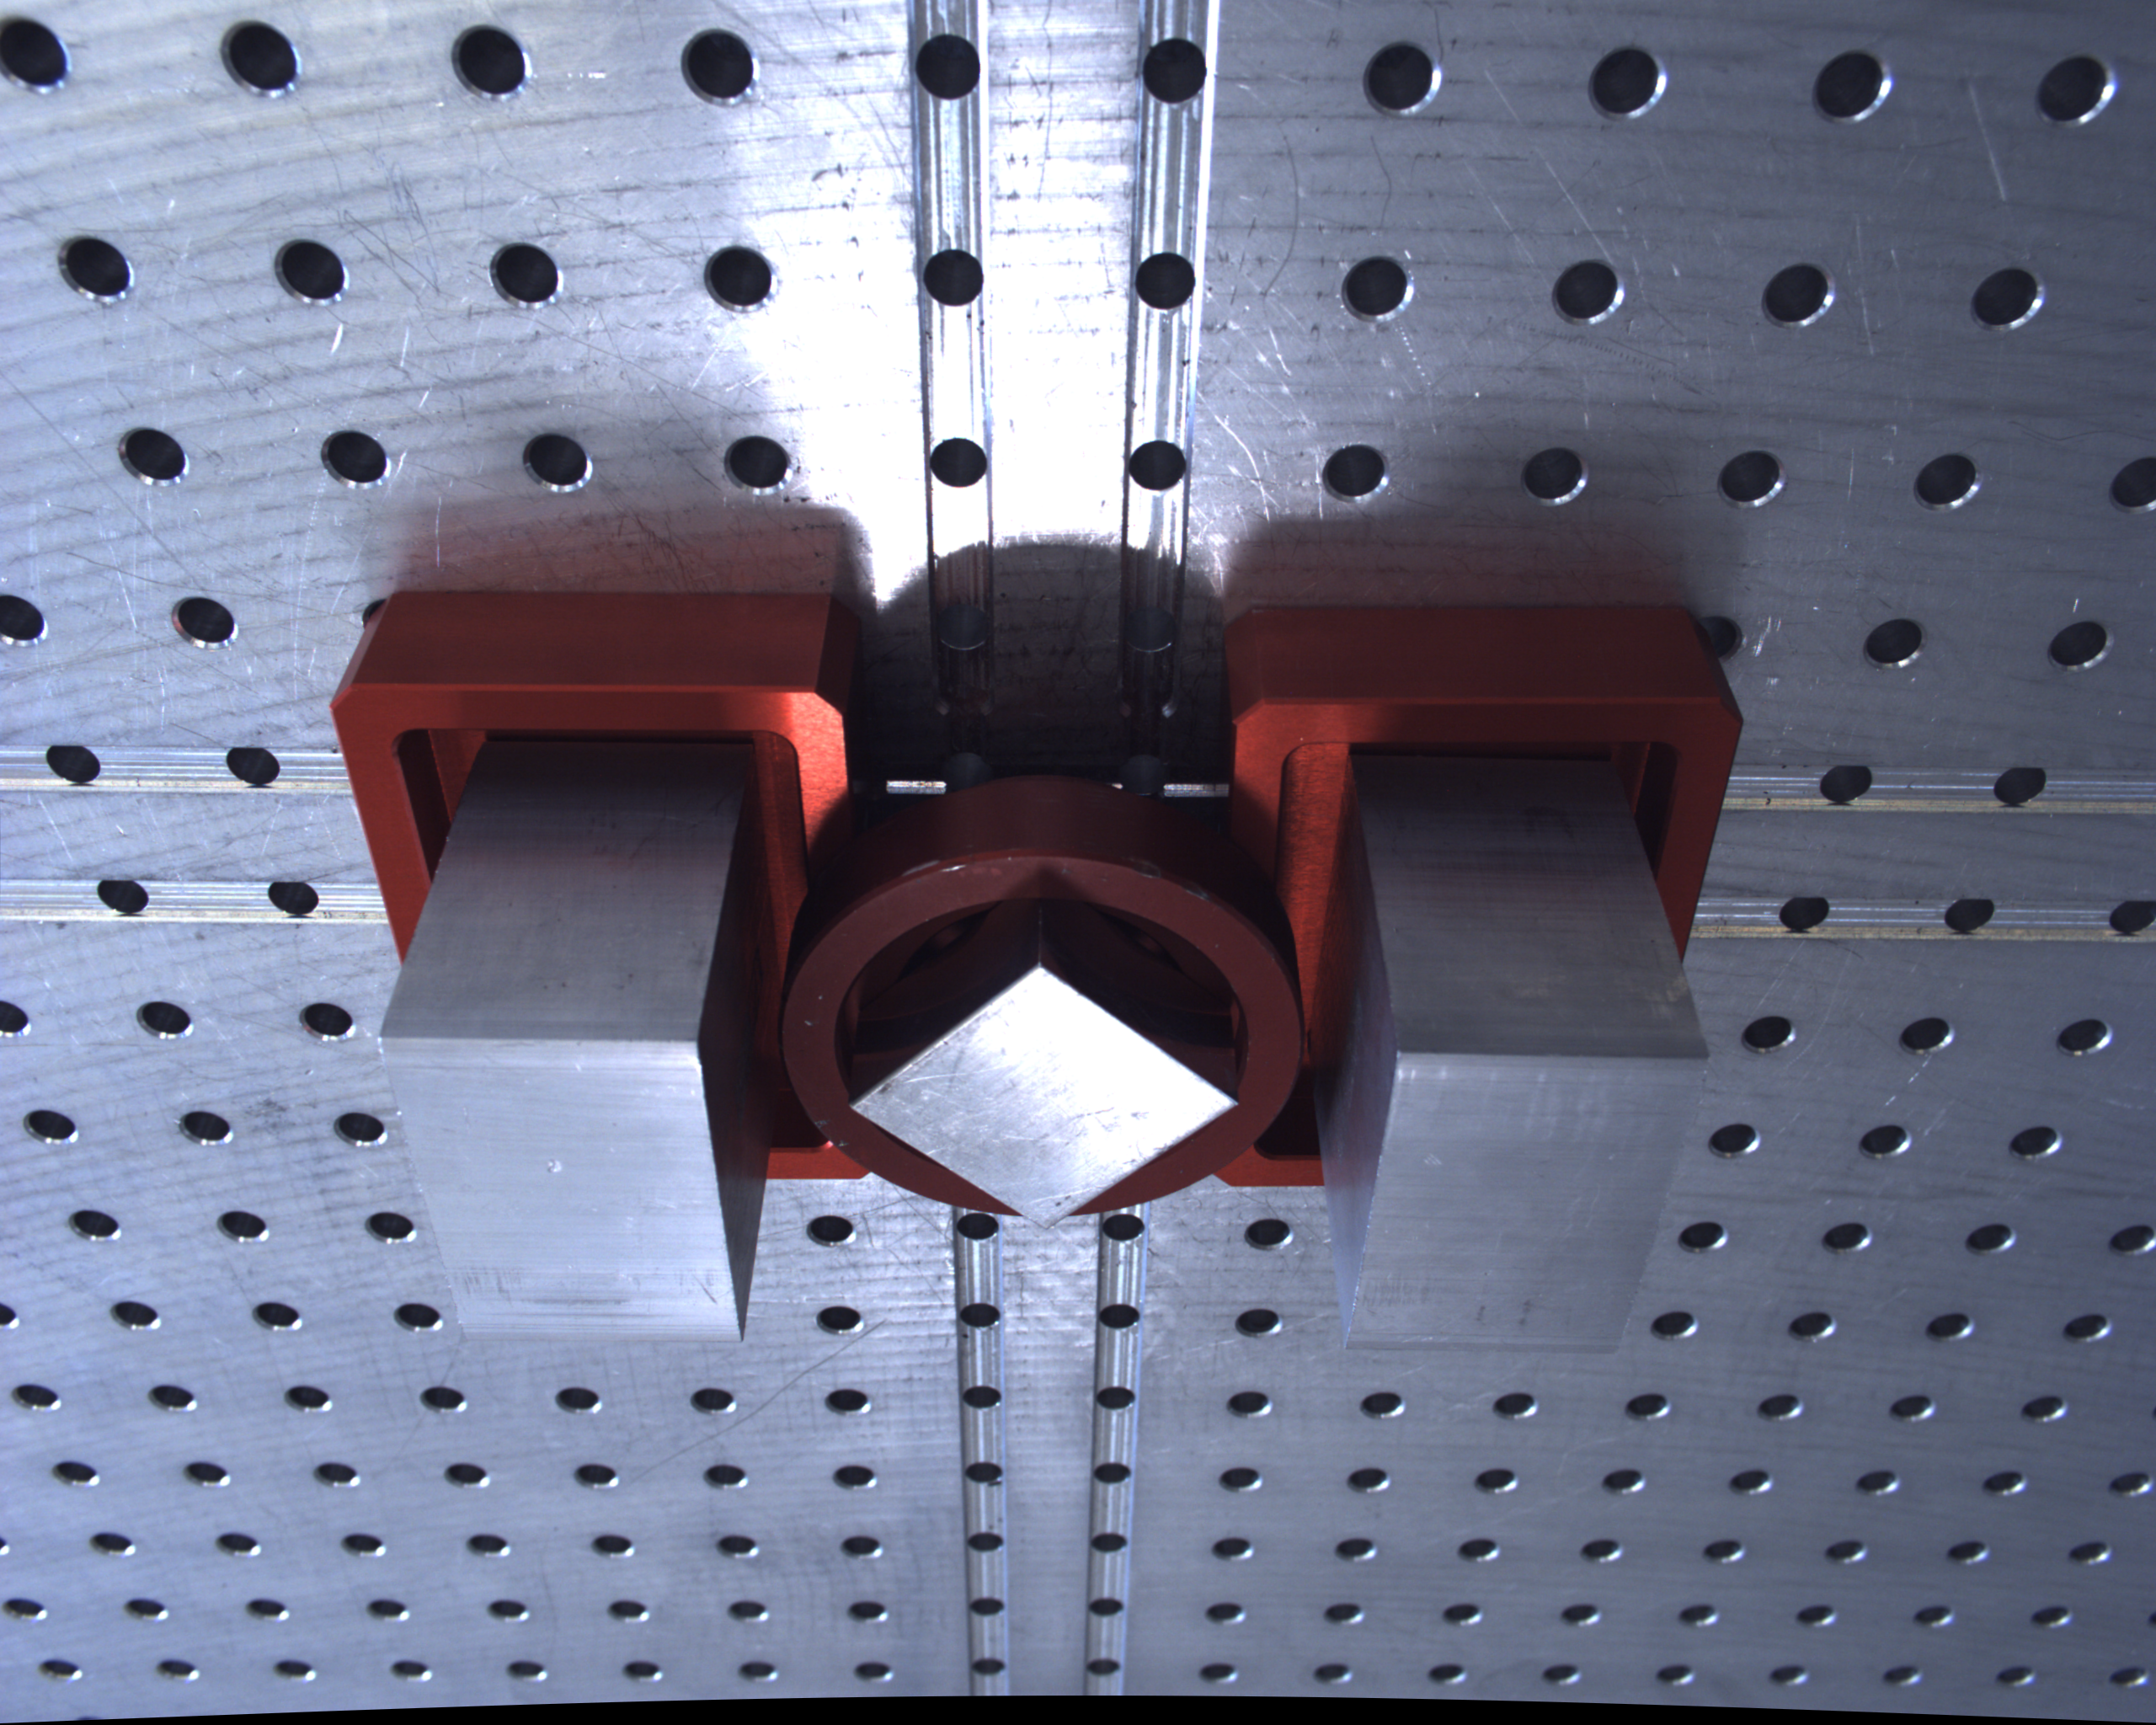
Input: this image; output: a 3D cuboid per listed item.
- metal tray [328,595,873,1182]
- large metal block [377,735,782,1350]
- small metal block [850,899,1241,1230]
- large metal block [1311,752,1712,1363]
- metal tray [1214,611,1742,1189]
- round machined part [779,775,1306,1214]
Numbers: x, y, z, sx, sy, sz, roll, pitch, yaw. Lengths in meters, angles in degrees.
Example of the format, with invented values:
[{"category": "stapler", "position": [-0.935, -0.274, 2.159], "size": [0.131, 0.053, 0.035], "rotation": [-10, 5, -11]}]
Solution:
[{"category": "metal tray", "position": [-0.086, 0.010, 0.414], "size": [0.091, 0.030, 0.129], "rotation": [0, 130, -1]}, {"category": "large metal block", "position": [-0.086, 0.033, 0.385], "size": [0.050, 0.080, 0.079], "rotation": [1, 130, -1]}, {"category": "small metal block", "position": [-0.006, 0.036, 0.389], "size": [0.050, 0.025, 0.050], "rotation": [37, 121, -27]}, {"category": "large metal block", "position": [0.075, 0.036, 0.389], "size": [0.050, 0.080, 0.079], "rotation": [1, 130, -1]}, {"category": "metal tray", "position": [0.072, 0.012, 0.418], "size": [0.091, 0.030, 0.129], "rotation": [0, 130, 0]}, {"category": "round machined part", "position": [-0.007, 0.022, 0.407], "size": [0.099, 0.042, 0.097], "rotation": [0, 130, 0]}]
